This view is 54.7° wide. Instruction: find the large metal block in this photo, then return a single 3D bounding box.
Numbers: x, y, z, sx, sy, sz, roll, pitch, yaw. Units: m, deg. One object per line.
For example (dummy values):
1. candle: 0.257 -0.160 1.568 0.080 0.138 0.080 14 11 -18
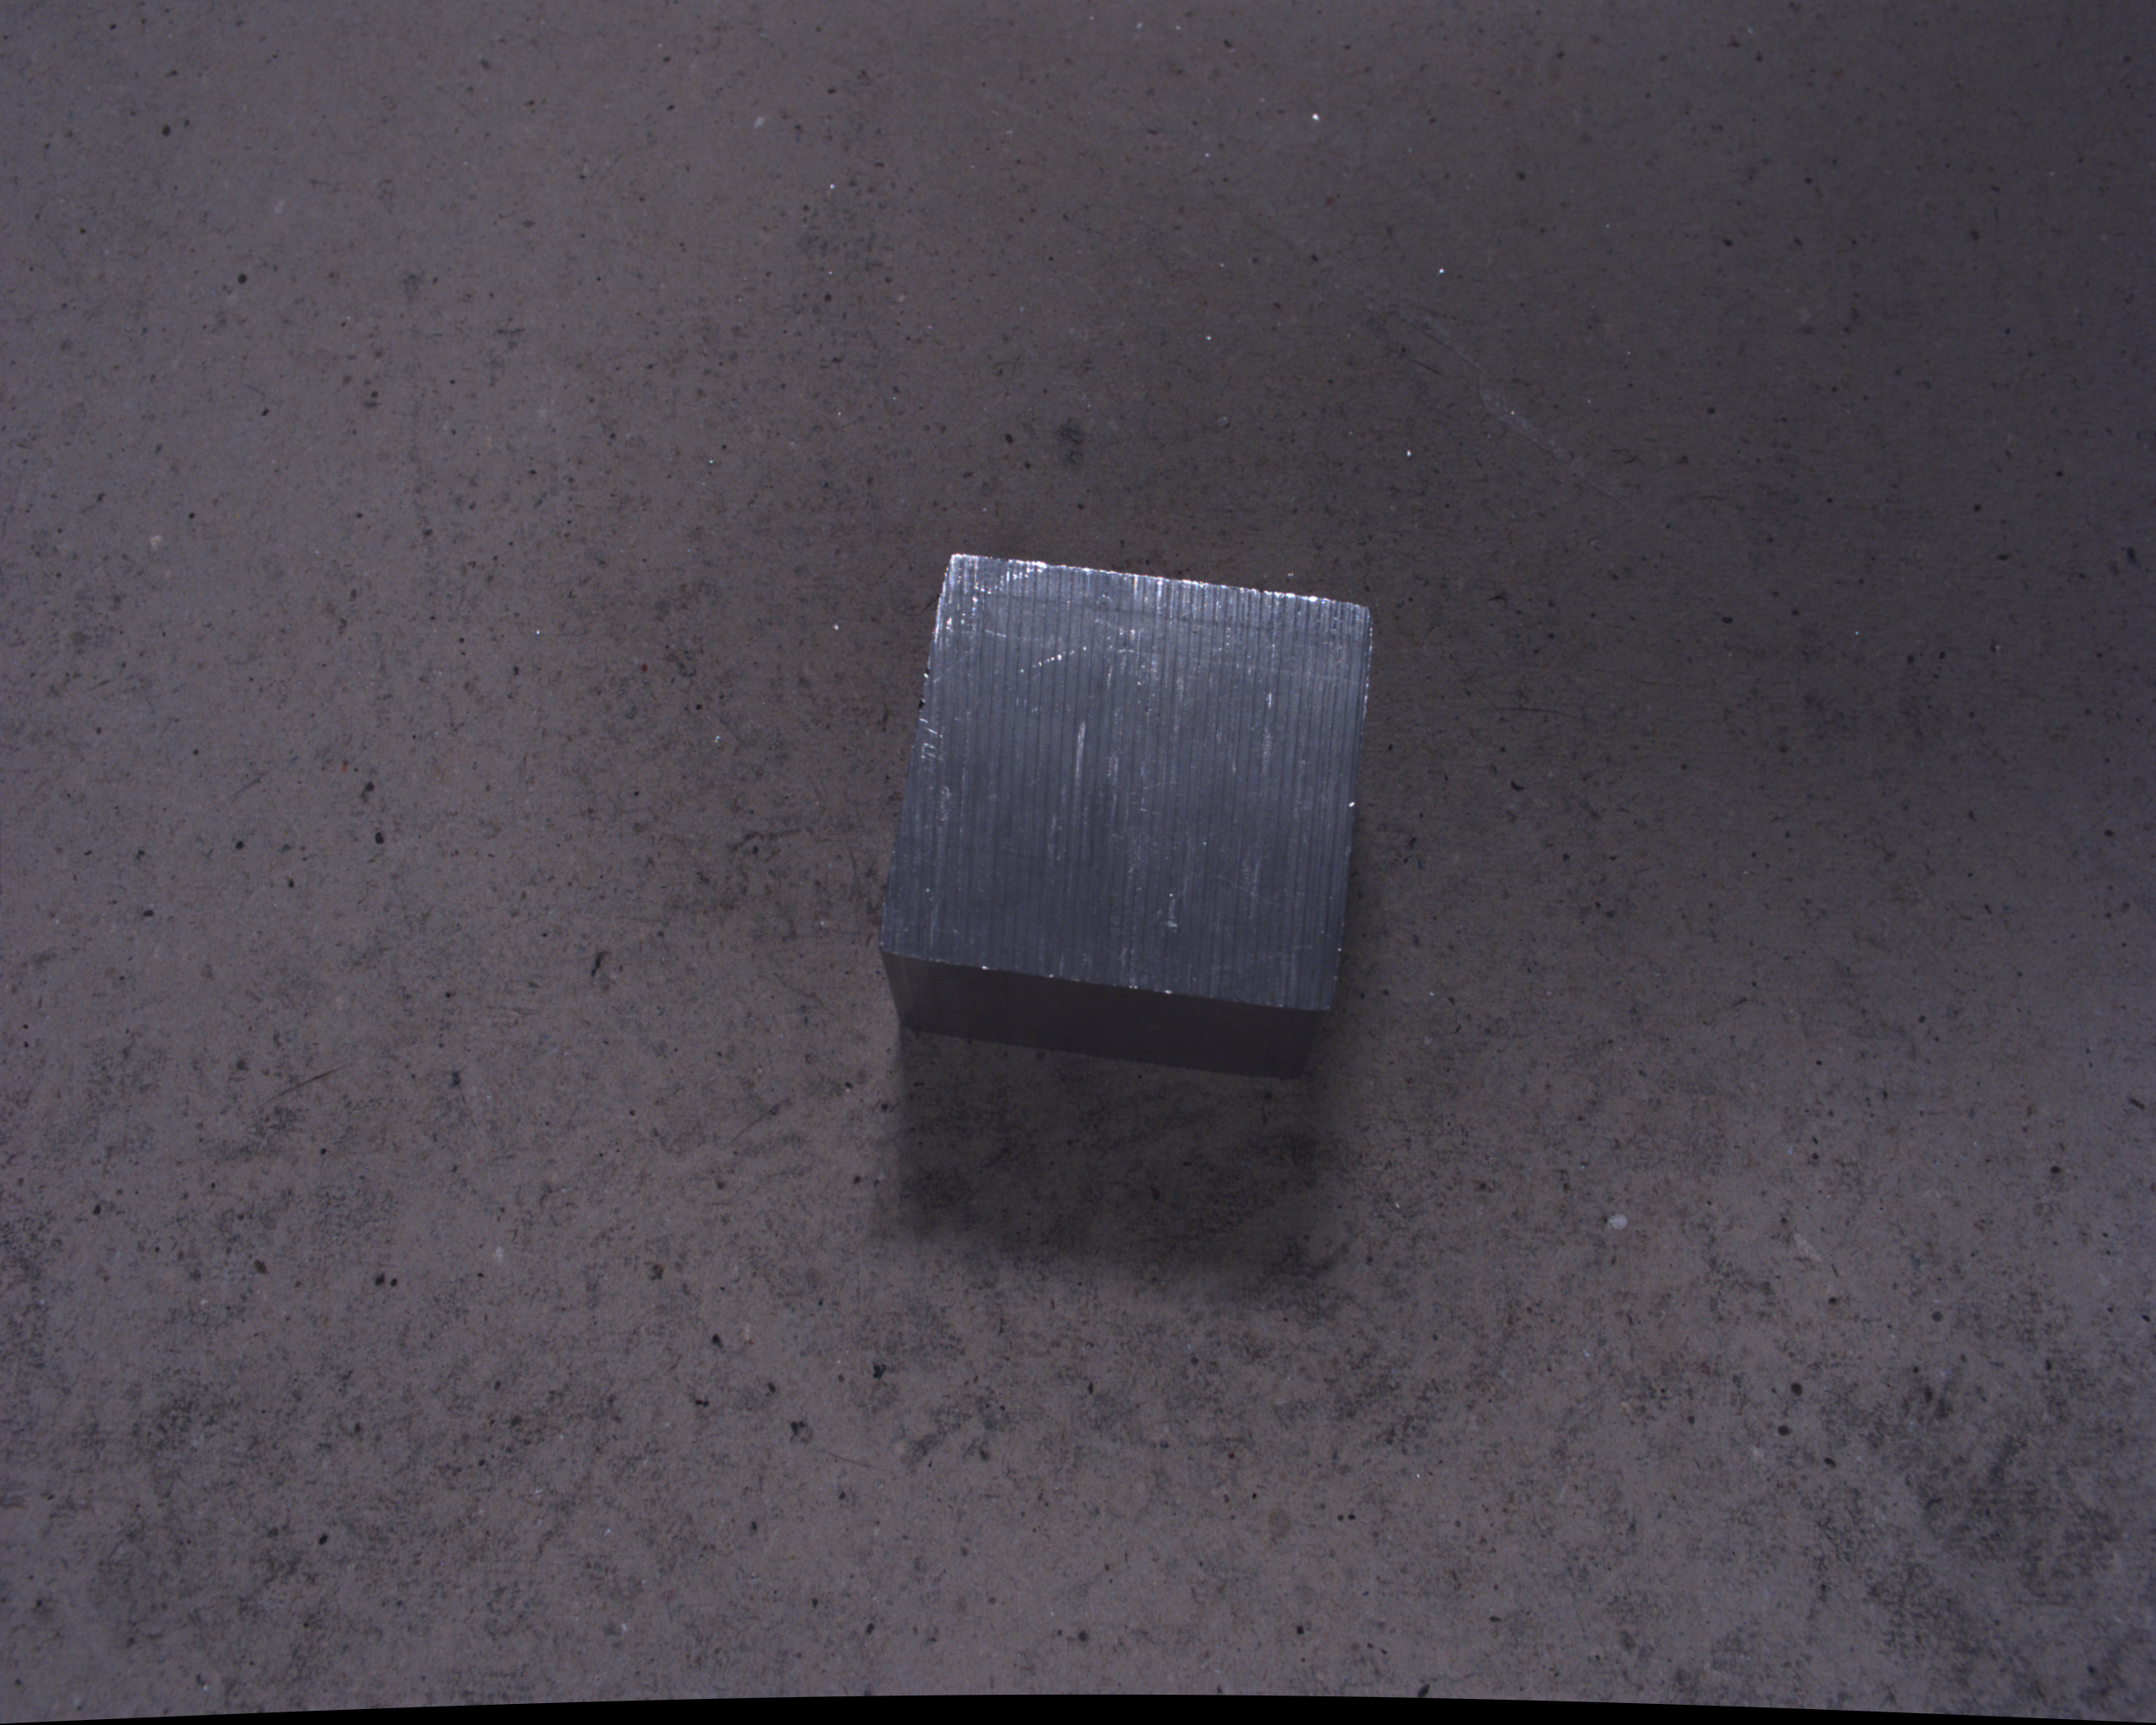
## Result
1. large metal block: 0.010 -0.008 0.399 0.080 0.050 0.080 7 70 2
